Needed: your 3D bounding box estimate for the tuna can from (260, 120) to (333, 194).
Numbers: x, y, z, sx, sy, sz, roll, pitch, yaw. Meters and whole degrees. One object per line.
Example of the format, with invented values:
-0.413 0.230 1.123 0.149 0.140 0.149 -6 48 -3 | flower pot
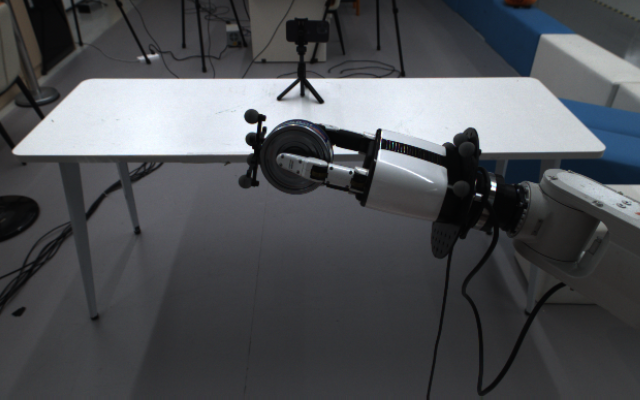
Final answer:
-0.026 -0.052 0.577 0.085 0.085 0.034 4 18 3 | tuna can
